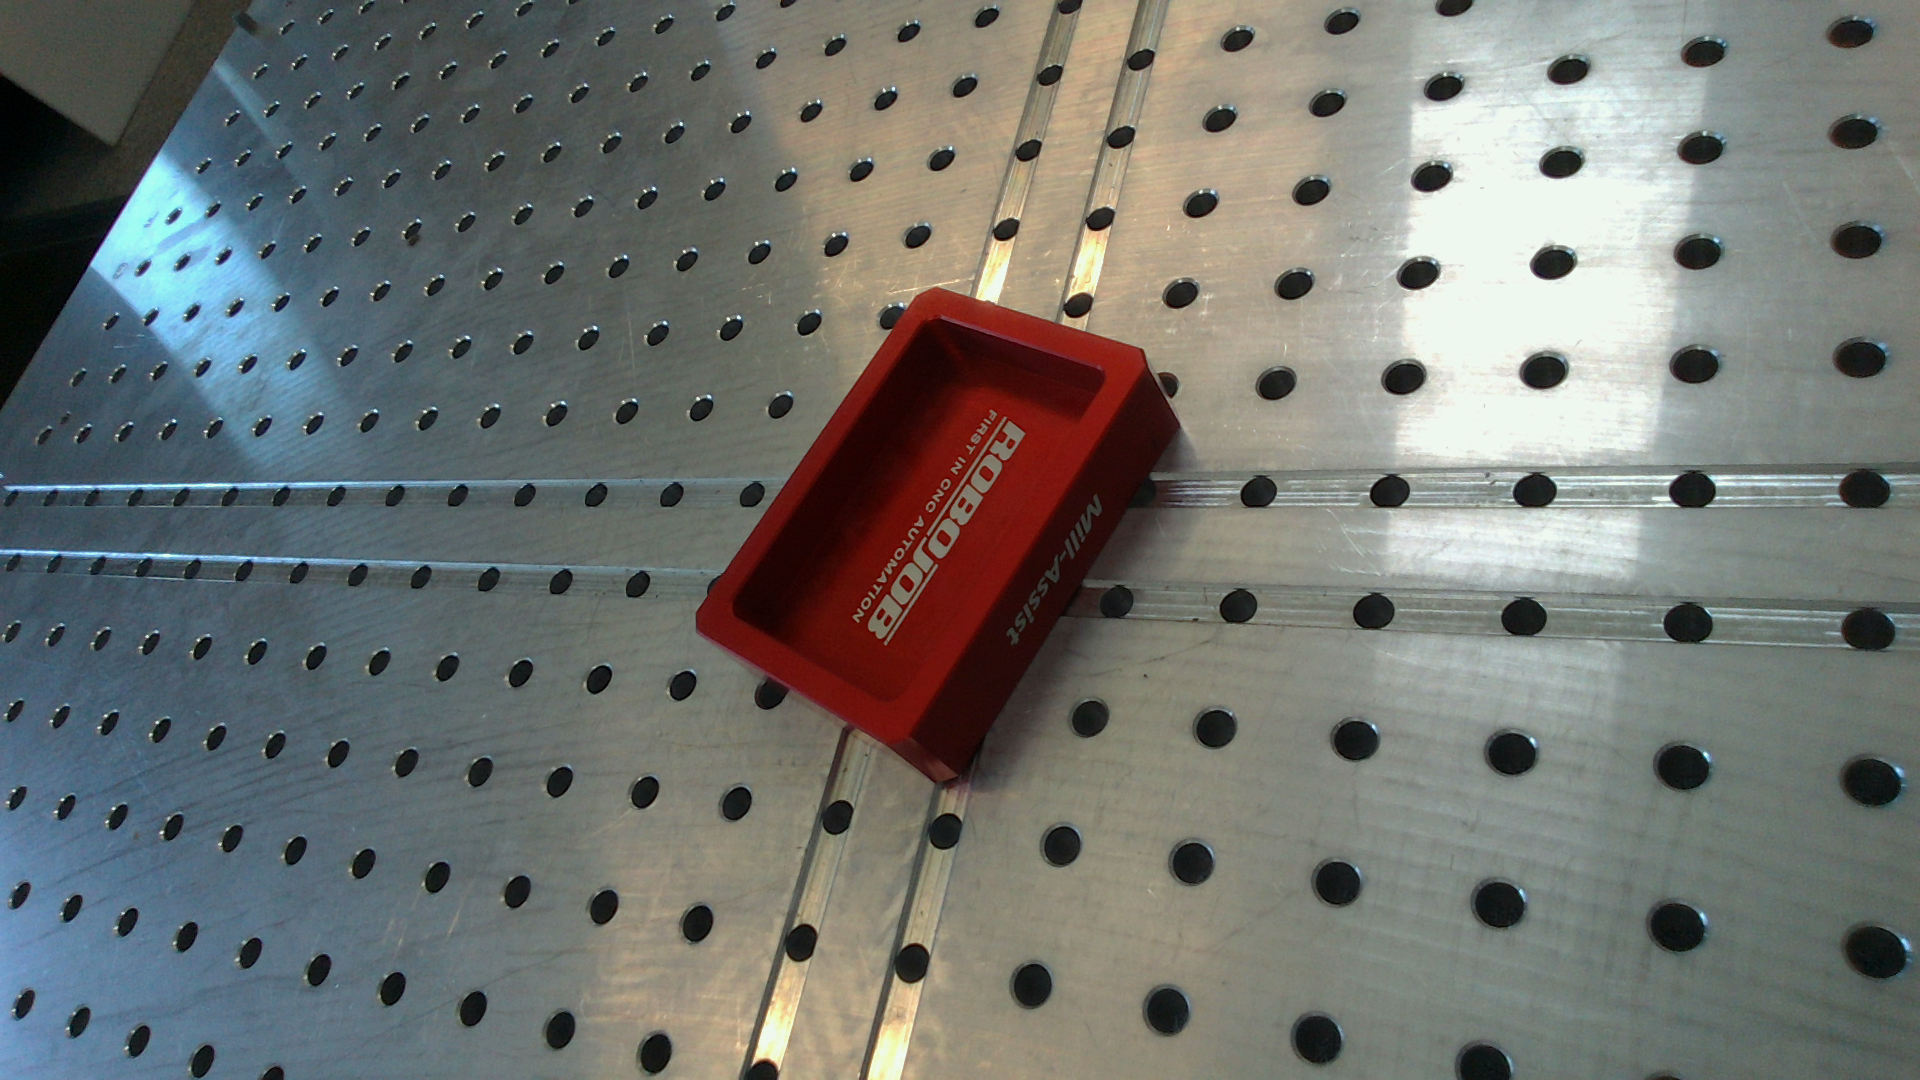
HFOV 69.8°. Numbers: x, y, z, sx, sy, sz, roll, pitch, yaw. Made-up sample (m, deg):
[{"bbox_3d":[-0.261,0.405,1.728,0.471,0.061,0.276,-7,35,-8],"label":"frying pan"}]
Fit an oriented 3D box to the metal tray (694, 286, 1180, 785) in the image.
[{"bbox_3d":[-0.007,-0.006,0.401,0.090,0.030,0.130,24,75,36],"label":"metal tray"}]
